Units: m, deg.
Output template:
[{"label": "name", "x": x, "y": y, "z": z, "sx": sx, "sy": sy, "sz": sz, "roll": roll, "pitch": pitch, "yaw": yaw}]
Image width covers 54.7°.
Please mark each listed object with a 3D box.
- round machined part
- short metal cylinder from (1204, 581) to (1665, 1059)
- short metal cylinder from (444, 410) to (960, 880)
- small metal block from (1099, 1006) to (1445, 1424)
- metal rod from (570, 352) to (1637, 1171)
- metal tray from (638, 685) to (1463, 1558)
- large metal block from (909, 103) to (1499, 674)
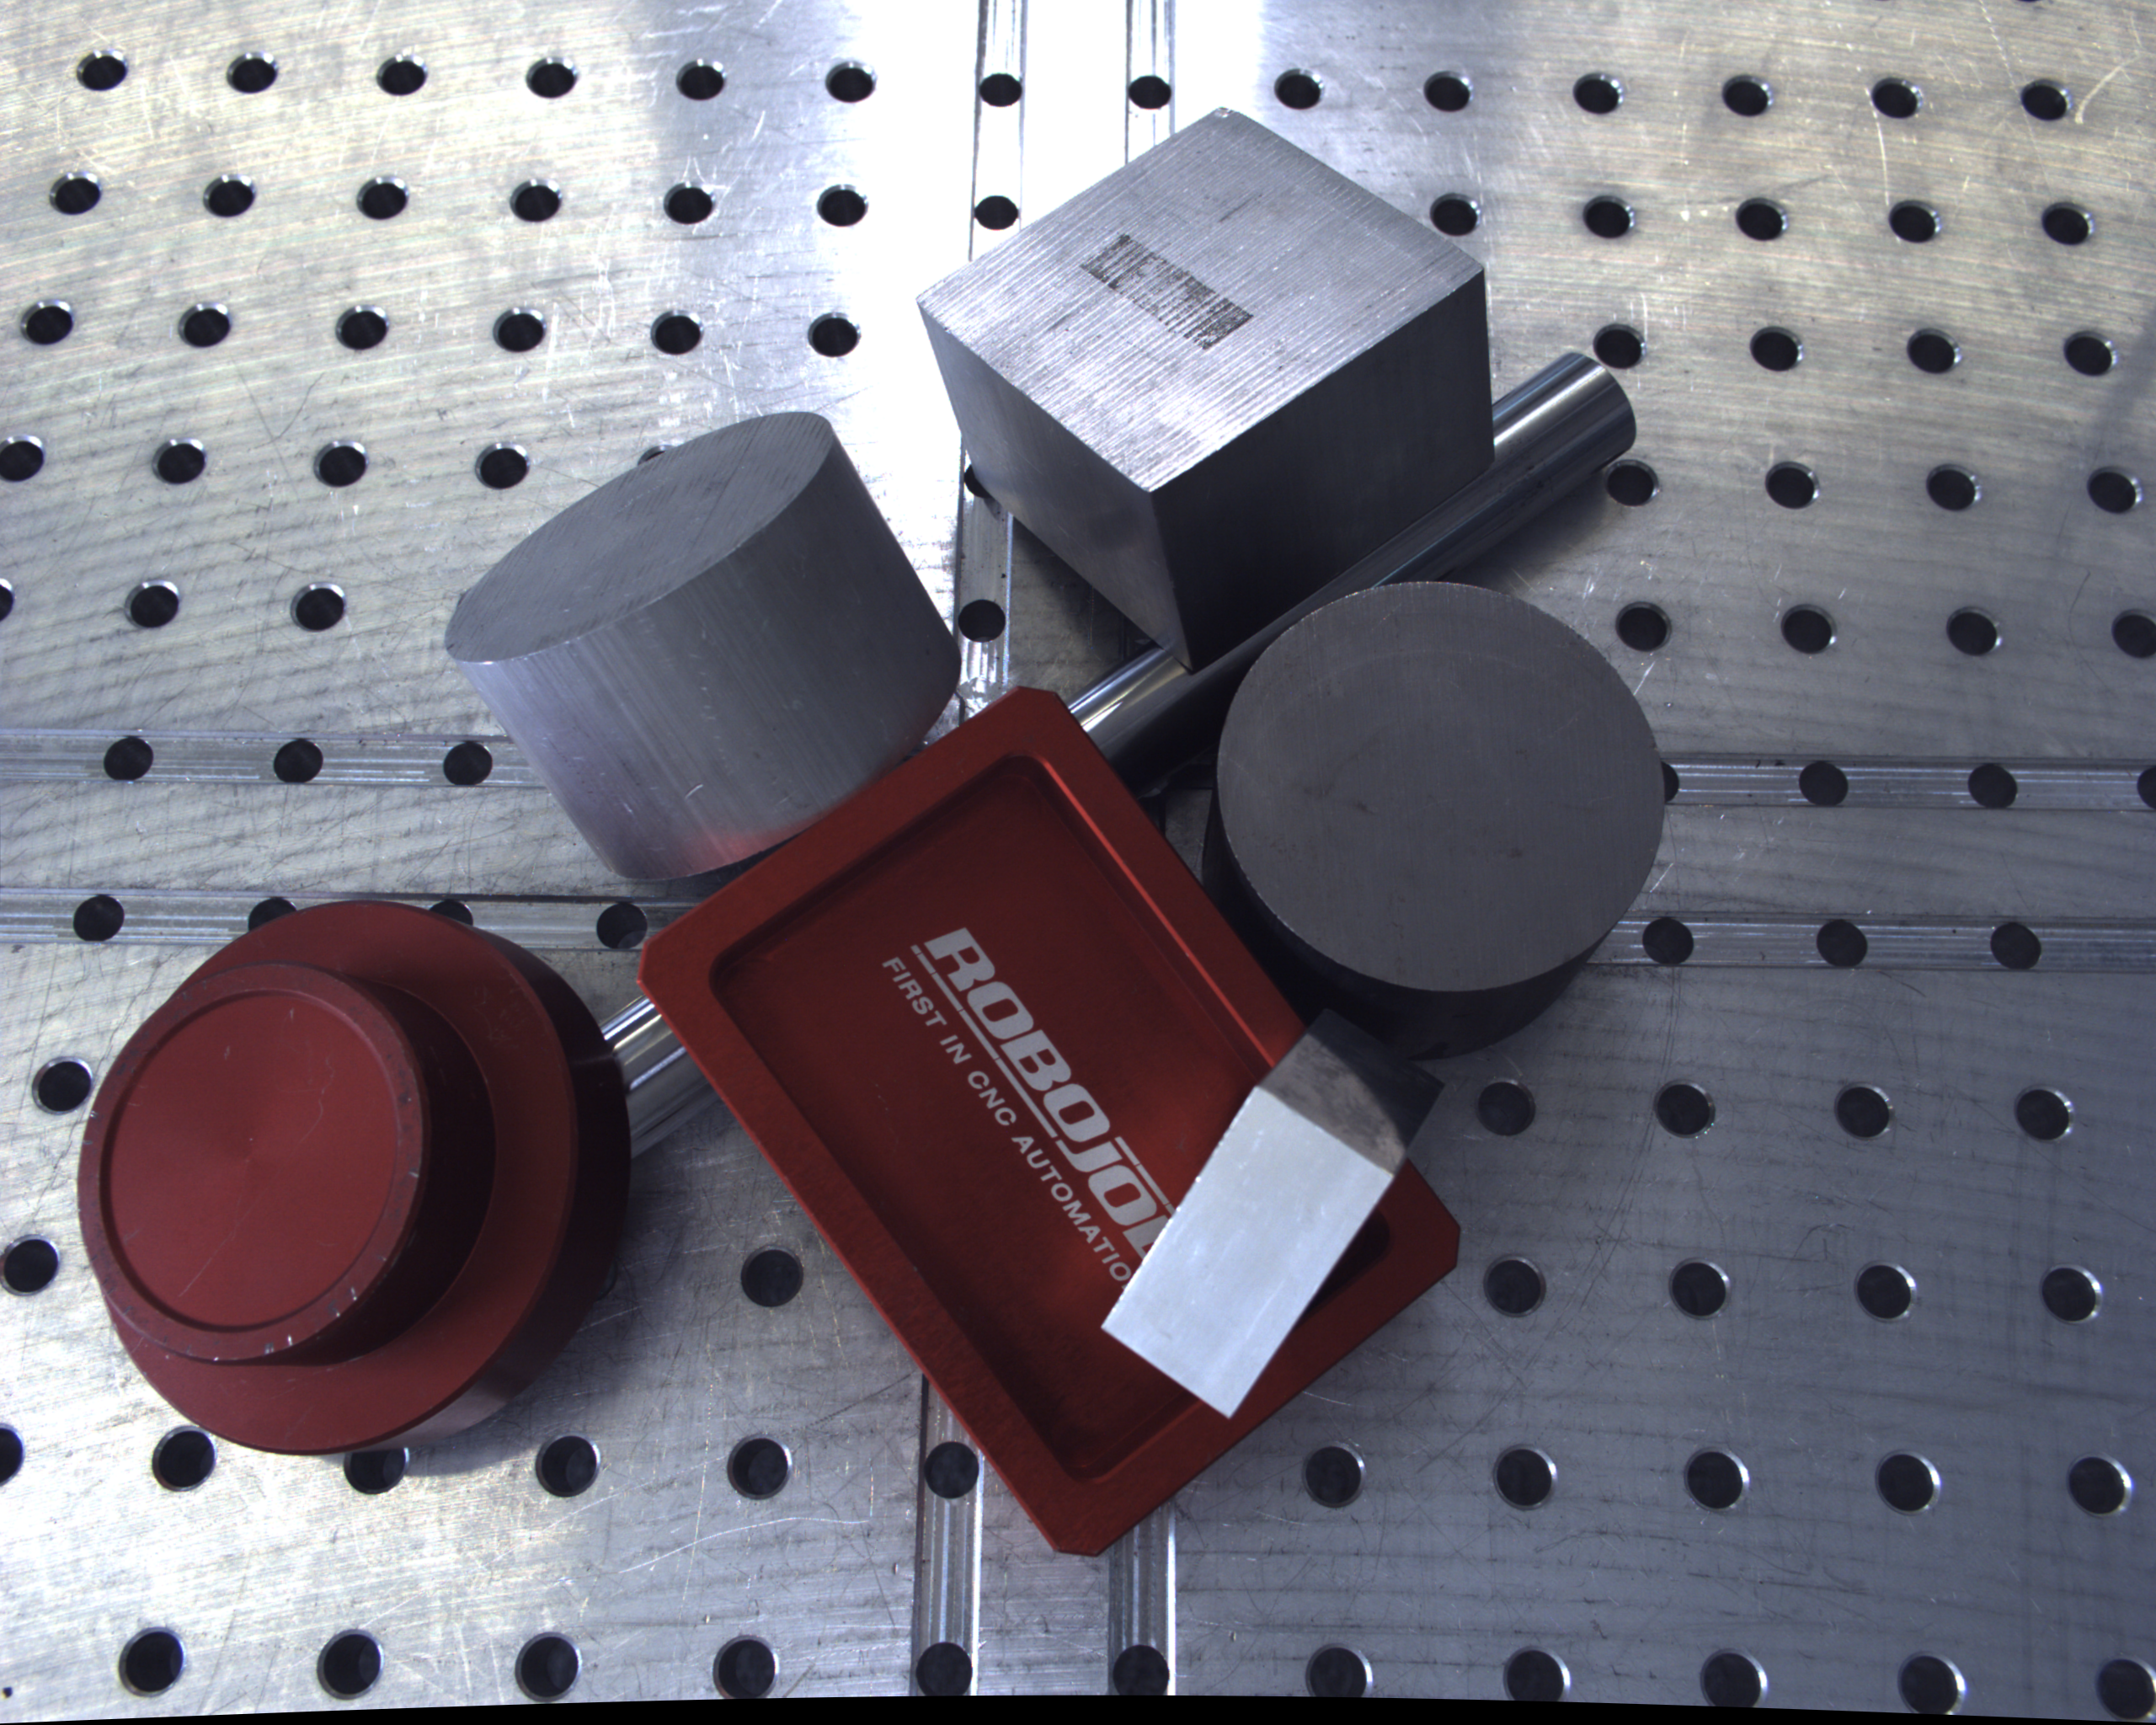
[{"label": "round machined part", "x": -0.133, "y": 0.054, "z": 0.368, "sx": 0.098, "sy": 0.042, "sz": 0.098, "roll": -4, "pitch": 75, "yaw": 15}, {"label": "short metal cylinder", "x": 0.066, "y": -0.007, "z": 0.401, "sx": 0.081, "sy": 0.050, "sz": 0.080, "roll": 0, "pitch": 70, "yaw": 0}, {"label": "short metal cylinder", "x": -0.069, "y": -0.042, "z": 0.391, "sx": 0.080, "sy": 0.050, "sz": 0.080, "roll": -21, "pitch": 31, "yaw": 14}, {"label": "small metal block", "x": 0.033, "y": 0.057, "z": 0.347, "sx": 0.025, "sy": 0.050, "sz": 0.050, "roll": 33, "pitch": 109, "yaw": 9}, {"label": "metal rod", "x": -0.008, "y": -0.012, "z": 0.418, "sx": 0.301, "sy": 0.025, "sz": 0.025, "roll": -36, "pitch": 74, "yaw": -12}, {"label": "metal tray", "x": -0.005, "y": 0.045, "z": 0.377, "sx": 0.090, "sy": 0.030, "sz": 0.130, "roll": -36, "pitch": 87, "yaw": -12}, {"label": "large metal block", "x": 0.026, "y": -0.098, "z": 0.422, "sx": 0.080, "sy": 0.050, "sz": 0.080, "roll": -35, "pitch": 54, "yaw": -12}]
